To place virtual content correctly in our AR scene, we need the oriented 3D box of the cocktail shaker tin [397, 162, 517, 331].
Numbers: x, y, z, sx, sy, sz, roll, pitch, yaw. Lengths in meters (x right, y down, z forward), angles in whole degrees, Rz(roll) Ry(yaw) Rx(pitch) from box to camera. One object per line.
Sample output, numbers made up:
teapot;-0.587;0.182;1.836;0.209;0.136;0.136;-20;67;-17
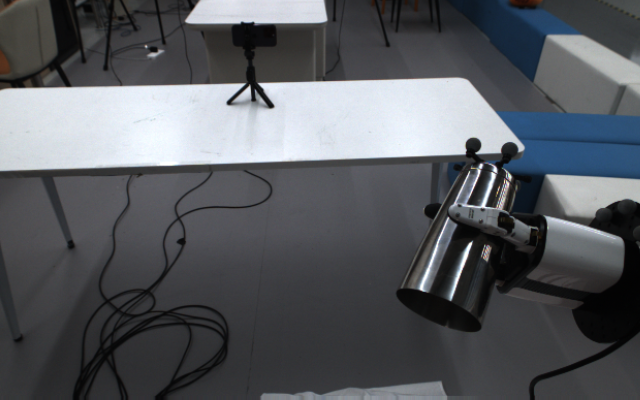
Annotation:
cocktail shaker tin;0.163;0.043;0.528;0.093;0.093;0.170;17;66;20
